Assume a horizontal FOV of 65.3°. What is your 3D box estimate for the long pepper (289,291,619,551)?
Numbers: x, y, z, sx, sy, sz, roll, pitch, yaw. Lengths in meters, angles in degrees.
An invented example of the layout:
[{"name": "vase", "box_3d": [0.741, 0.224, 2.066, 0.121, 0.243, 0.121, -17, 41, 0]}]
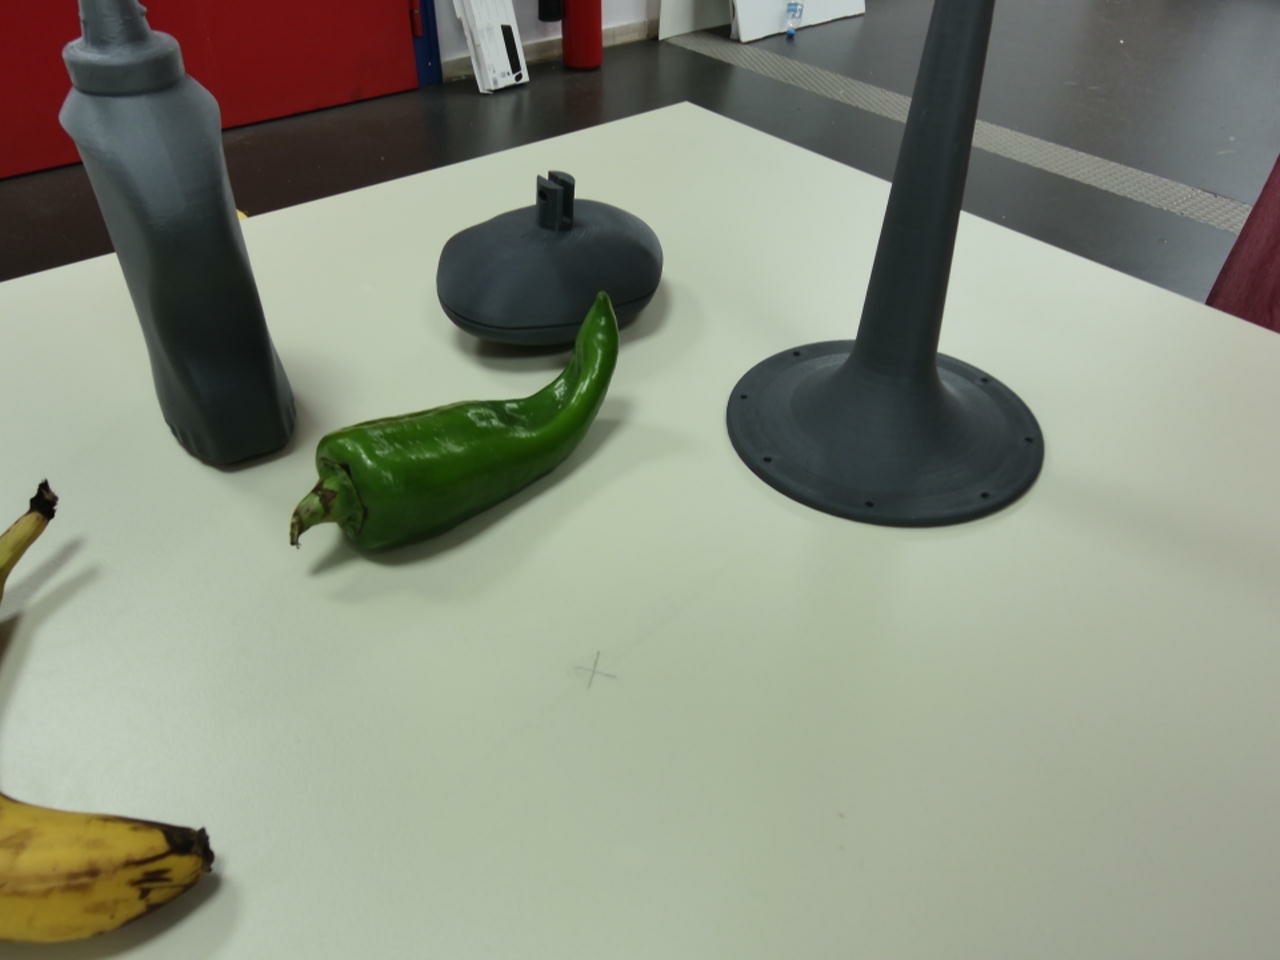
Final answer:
[{"name": "long pepper", "box_3d": [-0.071, -0.023, 0.426, 0.175, 0.065, 0.058, -28, 45, -33]}]
